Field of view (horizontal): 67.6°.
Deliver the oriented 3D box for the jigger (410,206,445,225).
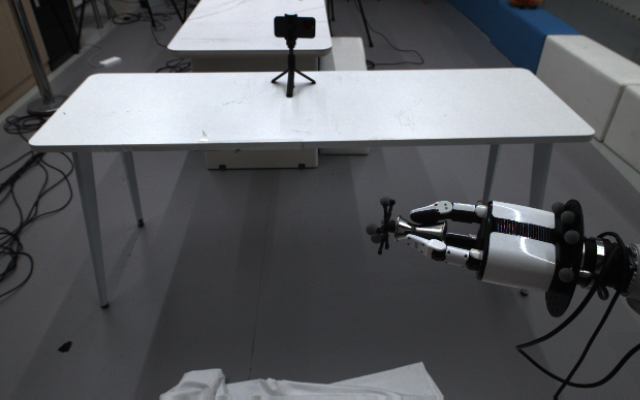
[{"bbox_3d":[0.153,0.039,0.700,0.071,0.043,0.043,6,34,21],"label":"jigger"}]
